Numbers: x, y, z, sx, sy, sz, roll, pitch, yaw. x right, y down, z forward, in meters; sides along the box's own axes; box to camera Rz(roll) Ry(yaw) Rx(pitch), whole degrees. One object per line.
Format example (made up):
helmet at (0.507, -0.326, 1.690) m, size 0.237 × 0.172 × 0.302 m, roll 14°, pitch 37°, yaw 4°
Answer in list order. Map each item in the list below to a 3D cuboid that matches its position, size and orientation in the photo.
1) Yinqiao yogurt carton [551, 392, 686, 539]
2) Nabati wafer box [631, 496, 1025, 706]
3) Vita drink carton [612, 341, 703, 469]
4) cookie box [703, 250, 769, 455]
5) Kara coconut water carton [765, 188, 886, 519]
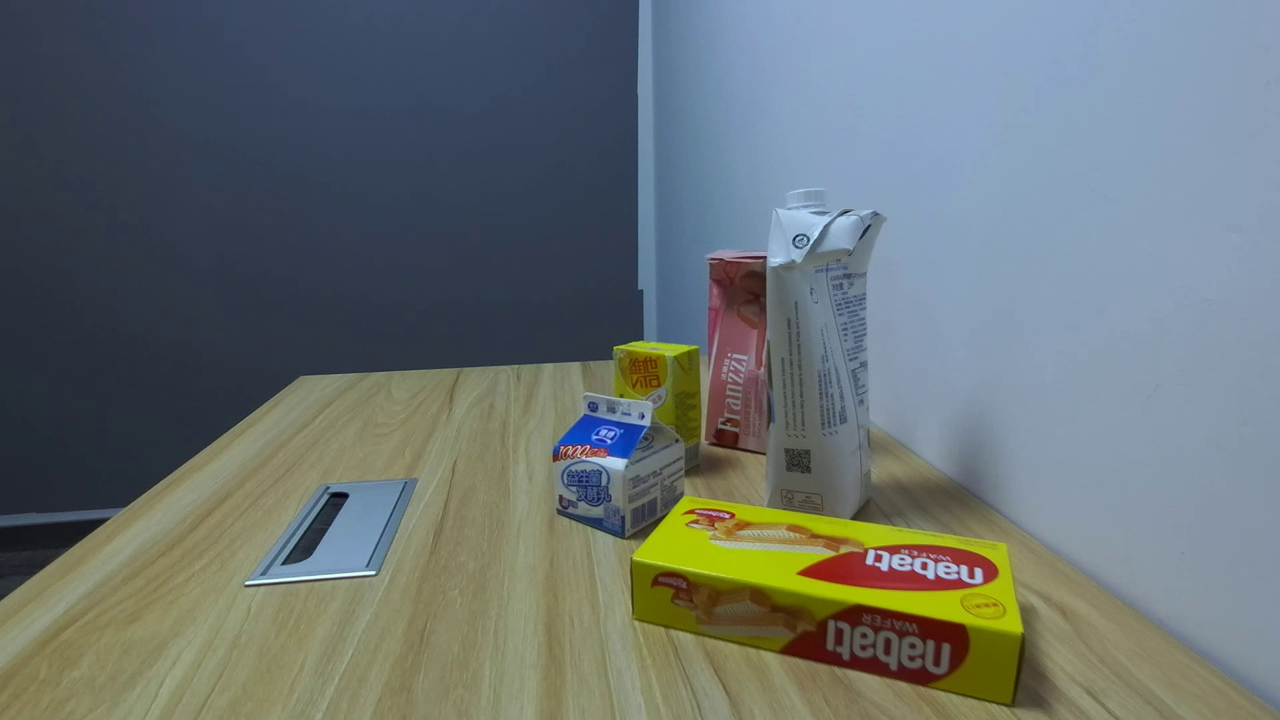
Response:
Yinqiao yogurt carton at (-0.016, 0.071, 0.534) m, size 0.075 × 0.092 × 0.074 m, roll 8°, pitch 17°, yaw 40°
Nabati wafer box at (0.103, 0.126, 0.404) m, size 0.202 × 0.042 × 0.093 m, roll 4°, pitch 15°, yaw 23°
Vita drink carton at (0.013, 0.040, 0.621) m, size 0.076 × 0.109 × 0.043 m, roll 9°, pitch 17°, yaw 36°
cookie box at (0.108, -0.006, 0.652) m, size 0.118 × 0.184 × 0.056 m, roll 6°, pitch 12°, yaw 35°
Kara coconut water carton at (0.134, -0.003, 0.517) m, size 0.069 × 0.238 × 0.115 m, roll 7°, pitch 16°, yaw 33°
